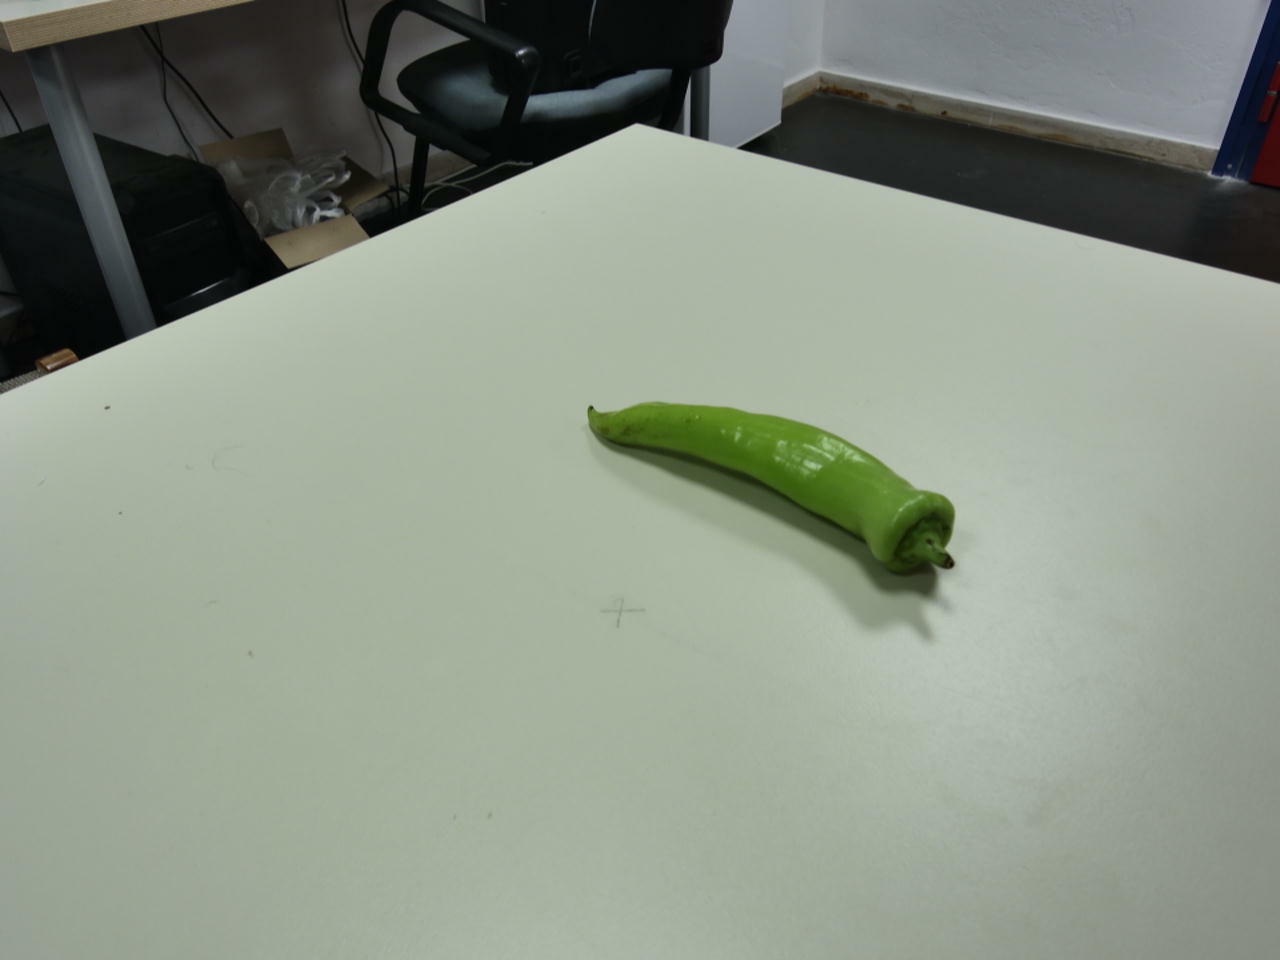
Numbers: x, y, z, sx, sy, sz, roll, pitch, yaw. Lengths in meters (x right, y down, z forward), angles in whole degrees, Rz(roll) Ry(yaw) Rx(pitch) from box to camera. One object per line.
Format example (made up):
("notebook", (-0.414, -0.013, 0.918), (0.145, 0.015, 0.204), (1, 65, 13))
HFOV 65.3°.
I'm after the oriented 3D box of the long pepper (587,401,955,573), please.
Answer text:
("long pepper", (0.055, -0.010, 0.437), (0.197, 0.038, 0.046), (28, 45, 33))
